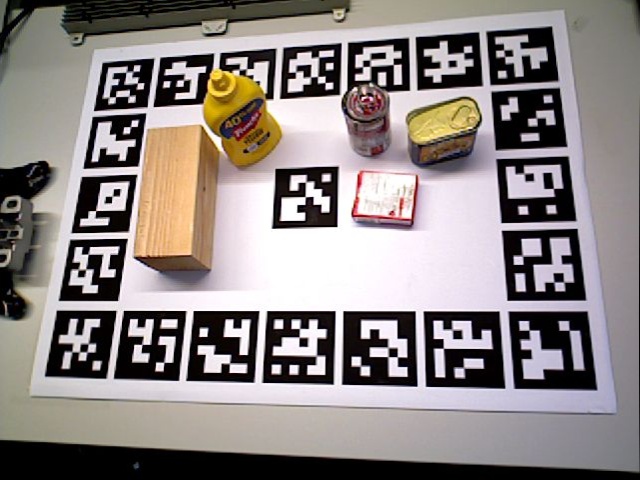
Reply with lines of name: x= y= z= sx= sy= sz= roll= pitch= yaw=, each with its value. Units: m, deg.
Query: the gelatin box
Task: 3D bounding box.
gelatin box: x=0.100 y=-0.050 z=0.780 sx=0.089 sy=0.030 sz=0.073 roll=9 pitch=76 yaw=14

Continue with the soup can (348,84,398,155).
soup can: x=0.078 y=-0.173 z=0.779 sx=0.068 sy=0.103 sz=0.067 roll=-3 pitch=72 yaw=8

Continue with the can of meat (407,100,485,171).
can of meat: x=0.176 y=-0.147 z=0.775 sx=0.101 sy=0.084 sz=0.057 roll=-14 pitch=71 yaw=2

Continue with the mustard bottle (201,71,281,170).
mustard bottle: x=-0.118 y=-0.174 z=0.779 sx=0.096 sy=0.193 sz=0.058 roll=-24 pitch=69 yaw=-2

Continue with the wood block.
wood block: x=-0.212 y=-0.057 z=0.807 sx=0.091 sy=0.091 sz=0.204 roll=1 pitch=68 yaw=7
